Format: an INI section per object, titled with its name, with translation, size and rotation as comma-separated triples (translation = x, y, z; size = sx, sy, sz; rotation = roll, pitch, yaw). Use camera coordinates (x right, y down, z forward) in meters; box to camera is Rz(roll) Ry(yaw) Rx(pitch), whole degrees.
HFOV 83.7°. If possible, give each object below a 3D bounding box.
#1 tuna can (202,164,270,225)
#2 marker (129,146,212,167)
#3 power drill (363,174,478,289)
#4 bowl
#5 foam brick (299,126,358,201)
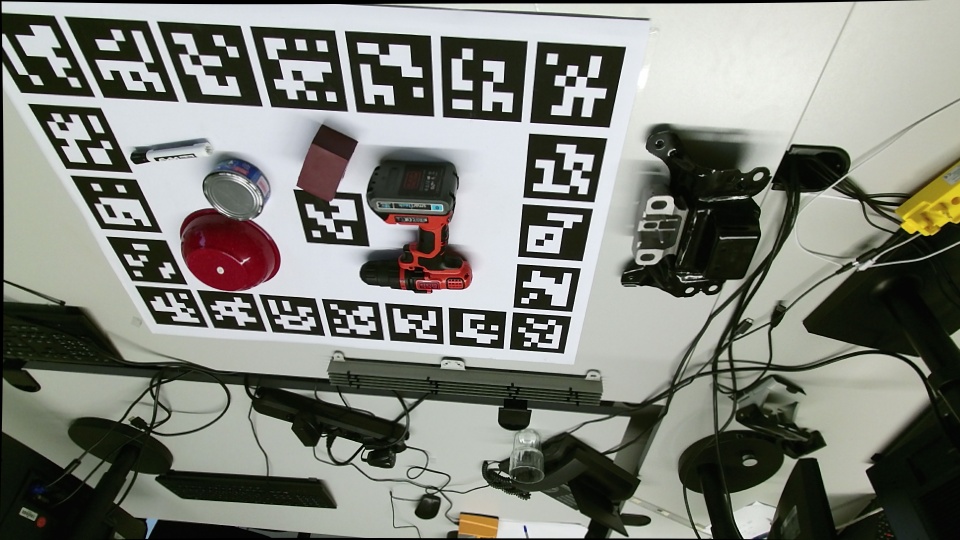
[tuna can]
translation = -0.353, -0.110, 0.779
size = 0.086, 0.033, 0.086
rotation = 4, 131, 5
[marker]
translation = -0.437, -0.159, 0.753
size = 0.121, 0.019, 0.019
rotation = -4, 129, 9
[power drill]
translation = -0.095, -0.050, 0.797
size = 0.185, 0.057, 0.187
rotation = 5, 134, 6
[bowl]
translation = -0.406, -0.015, 0.867
size = 0.162, 0.055, 0.162
rotation = 1, 138, 1
[foam brick]
translation = -0.208, -0.145, 0.732
size = 0.051, 0.052, 0.078
rotation = 23, 128, -12
